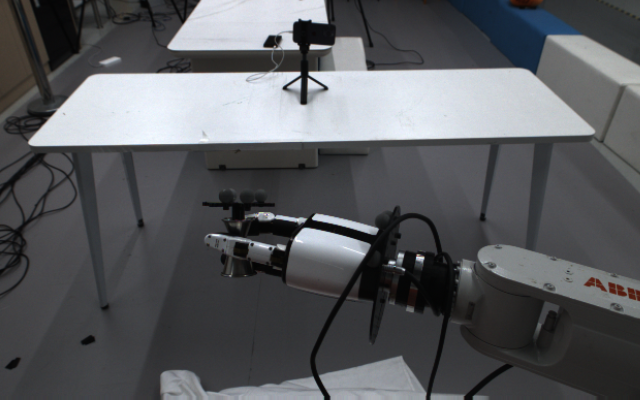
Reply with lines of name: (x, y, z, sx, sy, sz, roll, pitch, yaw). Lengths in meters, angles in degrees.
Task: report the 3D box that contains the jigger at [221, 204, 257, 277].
jigger: (-0.098, 0.056, 0.590, 0.043, 0.071, 0.043, 0, 2, 0)
